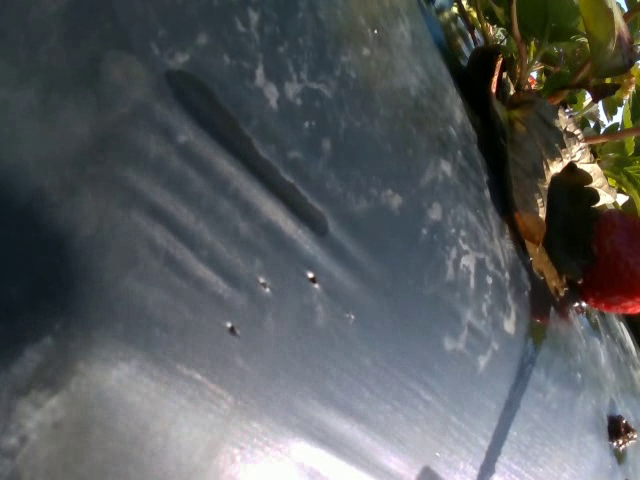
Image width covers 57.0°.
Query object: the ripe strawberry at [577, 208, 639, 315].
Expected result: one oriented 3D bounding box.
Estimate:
[{"bbox_3d":[0.096,0.012,0.181,0.037,0.047,0.054,-18,19,13],"label":"ripe strawberry"}]
